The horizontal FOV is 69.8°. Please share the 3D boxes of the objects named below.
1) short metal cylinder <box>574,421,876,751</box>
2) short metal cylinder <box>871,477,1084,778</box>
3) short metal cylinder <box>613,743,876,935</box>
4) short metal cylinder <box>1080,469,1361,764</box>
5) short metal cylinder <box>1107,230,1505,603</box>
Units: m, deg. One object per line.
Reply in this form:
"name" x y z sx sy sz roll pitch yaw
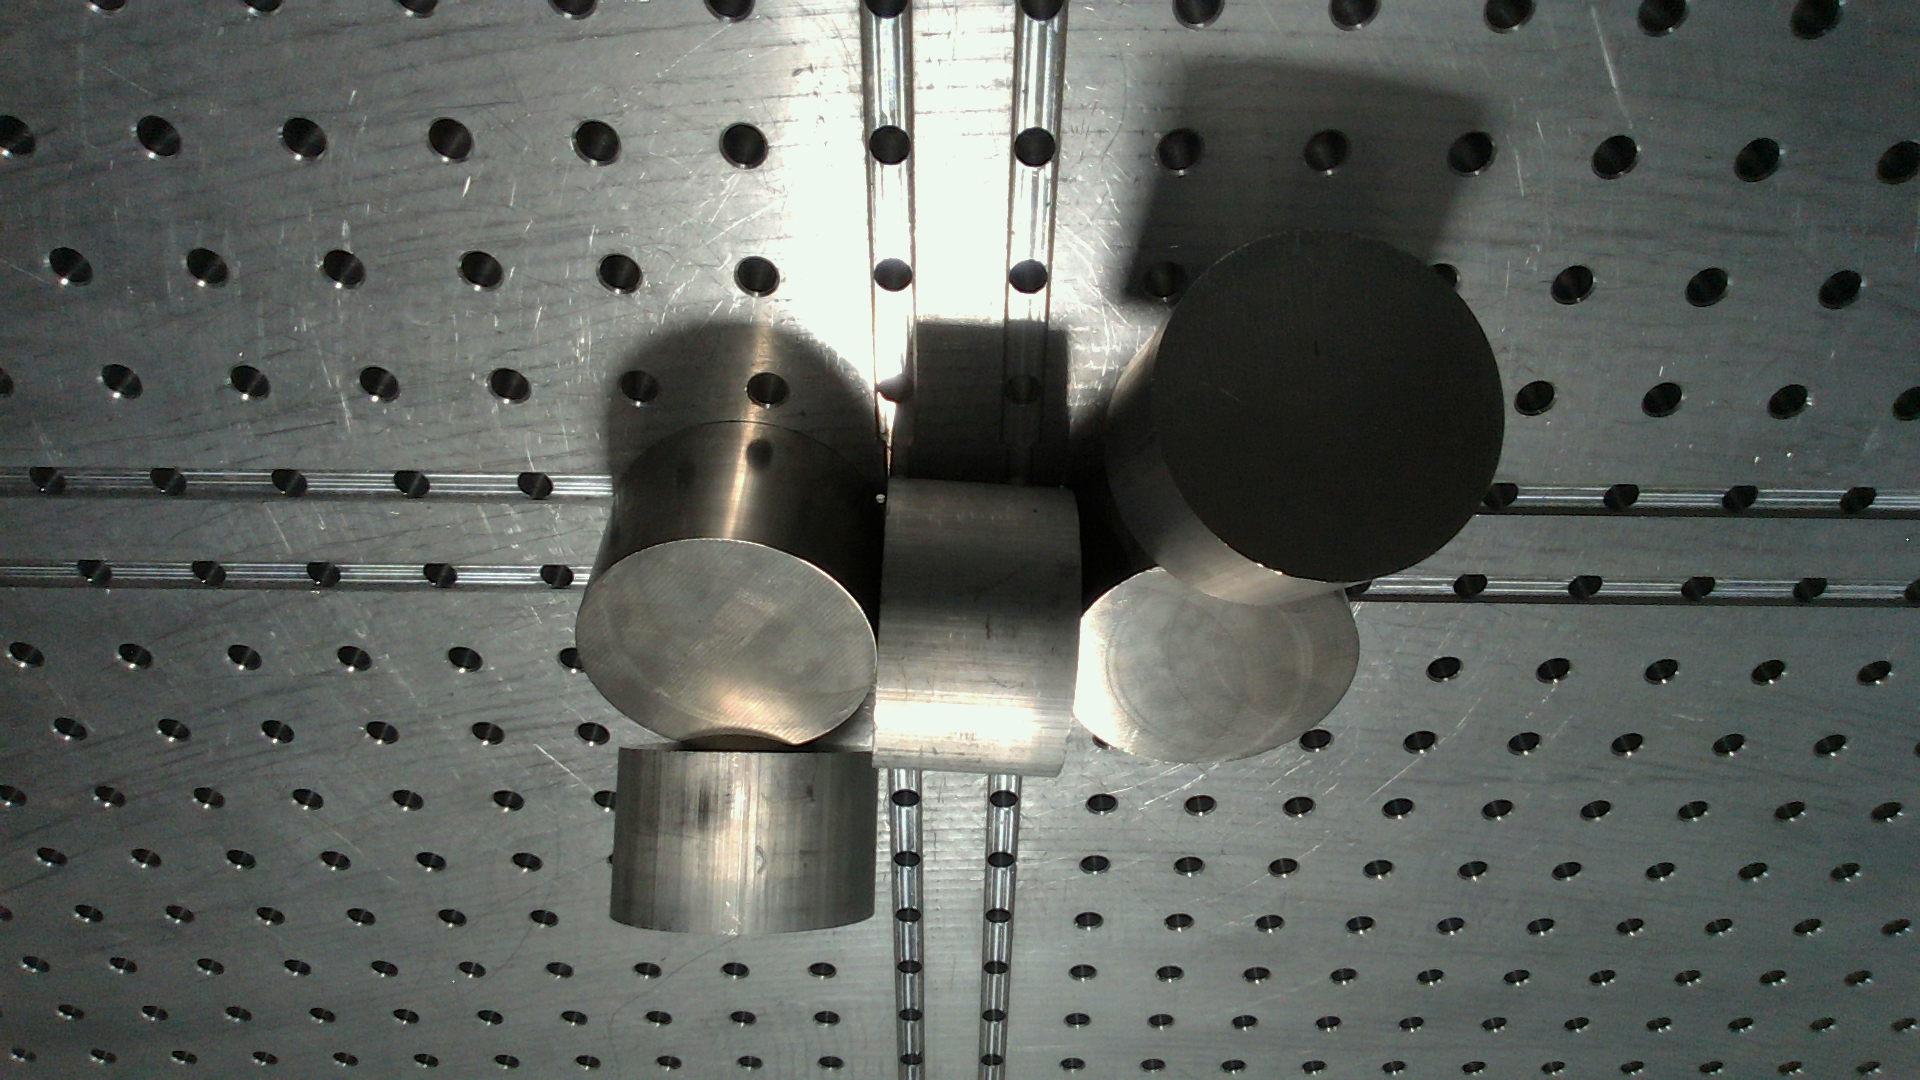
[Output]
"short metal cylinder" -0.063 0.014 0.388 0.080 0.050 0.080 0 130 0
"short metal cylinder" 0.003 0.024 0.378 0.050 0.080 0.080 4 130 -3
"short metal cylinder" -0.065 0.089 0.425 0.080 0.050 0.080 1 174 0
"short metal cylinder" 0.068 0.018 0.392 0.080 0.050 0.080 0 130 0
"short metal cylinder" 0.079 -0.026 0.327 0.080 0.080 0.050 6 171 -6
